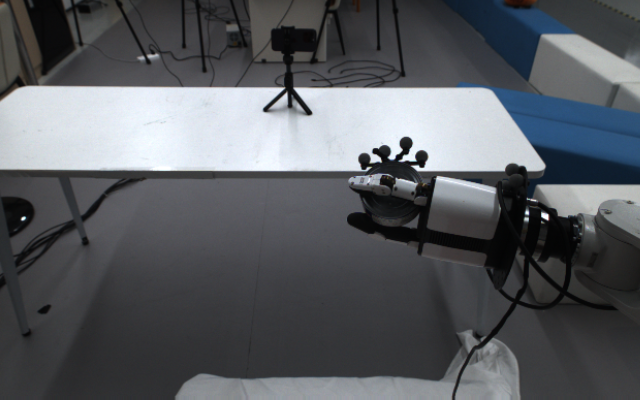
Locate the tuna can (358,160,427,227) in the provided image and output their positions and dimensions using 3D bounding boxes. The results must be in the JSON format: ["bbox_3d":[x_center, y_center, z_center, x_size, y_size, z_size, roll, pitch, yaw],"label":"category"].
[{"bbox_3d":[0.097,-0.008,0.654,0.085,0.034,0.085,-6,61,10],"label":"tuna can"}]
